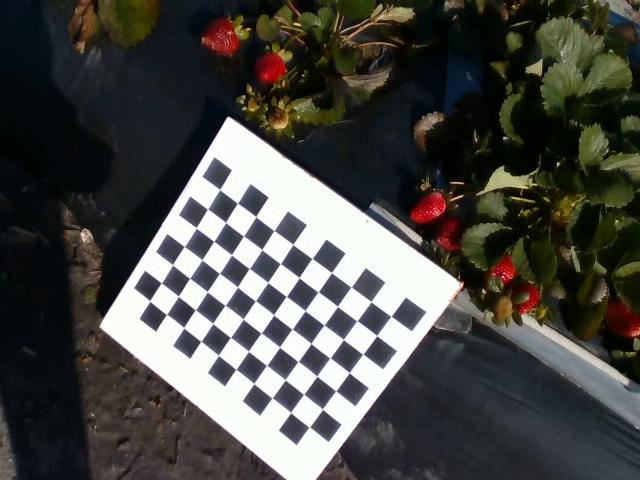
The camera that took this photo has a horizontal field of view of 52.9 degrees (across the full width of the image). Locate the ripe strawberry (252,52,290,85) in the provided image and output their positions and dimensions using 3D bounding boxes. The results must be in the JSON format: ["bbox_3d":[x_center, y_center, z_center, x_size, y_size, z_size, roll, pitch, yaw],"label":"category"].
[{"bbox_3d":[-0.058,-0.190,0.717,0.042,0.039,0.049,-8,30,17],"label":"ripe strawberry"}]

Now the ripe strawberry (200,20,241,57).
[{"bbox_3d":[-0.119,-0.229,0.725,0.044,0.051,0.050,-40,-5,38],"label":"ripe strawberry"}]
